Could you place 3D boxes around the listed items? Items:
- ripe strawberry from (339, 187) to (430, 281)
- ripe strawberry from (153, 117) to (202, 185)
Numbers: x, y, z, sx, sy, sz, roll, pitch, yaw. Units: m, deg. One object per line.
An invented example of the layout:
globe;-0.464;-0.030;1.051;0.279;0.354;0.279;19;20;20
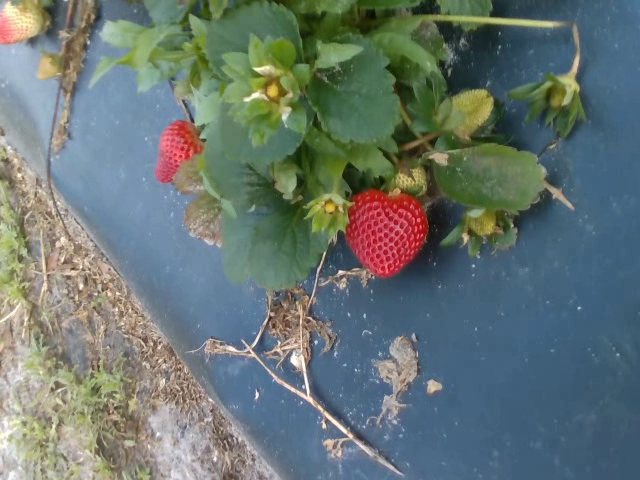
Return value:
ripe strawberry;0.030;-0.001;0.316;0.046;0.046;0.043;11;-31;-26
ripe strawberry;-0.090;-0.056;0.412;0.051;0.043;0.042;-48;-24;22
